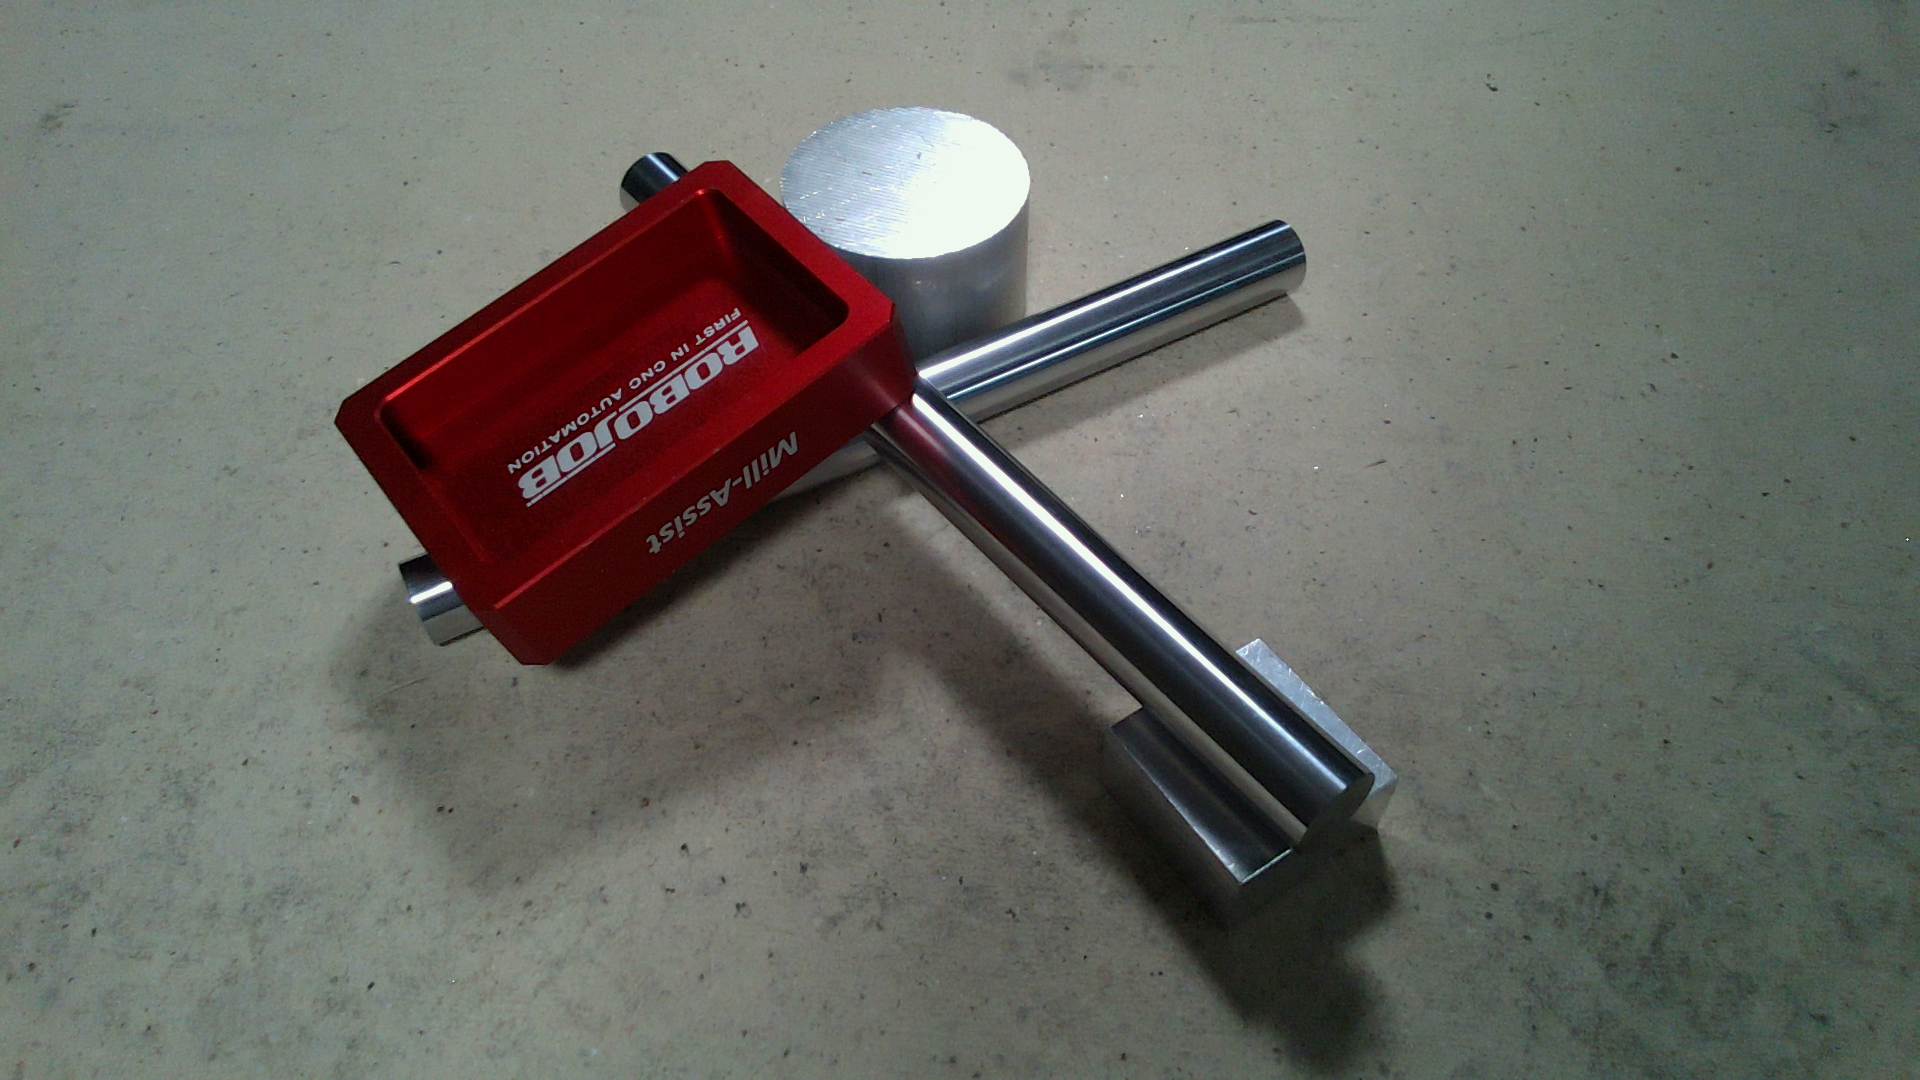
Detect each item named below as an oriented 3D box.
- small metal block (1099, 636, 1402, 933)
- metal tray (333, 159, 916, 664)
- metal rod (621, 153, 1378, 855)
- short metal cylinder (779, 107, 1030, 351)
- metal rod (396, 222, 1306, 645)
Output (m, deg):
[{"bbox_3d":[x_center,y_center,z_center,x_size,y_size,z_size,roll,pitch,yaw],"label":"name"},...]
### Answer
[{"bbox_3d":[0.071,0.059,0.341,0.050,0.025,0.050,-27,55,-21],"label":"small metal block"},{"bbox_3d":[-0.089,-0.039,0.371,0.130,0.030,0.090,-38,58,-14],"label":"metal tray"},{"bbox_3d":[-0.008,-0.028,0.383,0.025,0.025,0.299,-32,57,-24],"label":"metal rod"},{"bbox_3d":[-0.018,-0.100,0.459,0.080,0.050,0.080,0,50,0],"label":"short metal cylinder"},{"bbox_3d":[-0.019,-0.040,0.426,0.301,0.025,0.025,-24,54,-19],"label":"metal rod"}]
